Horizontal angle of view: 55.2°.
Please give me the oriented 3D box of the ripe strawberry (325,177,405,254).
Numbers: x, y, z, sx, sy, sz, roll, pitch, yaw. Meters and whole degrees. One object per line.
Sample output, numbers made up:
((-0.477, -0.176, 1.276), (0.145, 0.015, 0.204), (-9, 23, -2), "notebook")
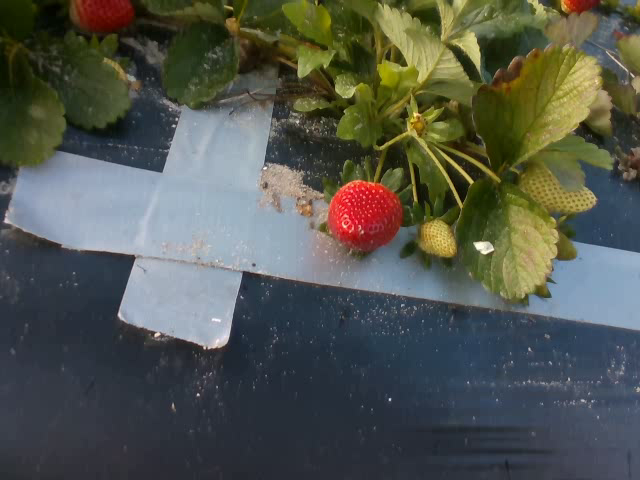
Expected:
((0.011, -0.006, 0.148), (0.023, 0.021, 0.026), (6, 27, 13), "ripe strawberry")
